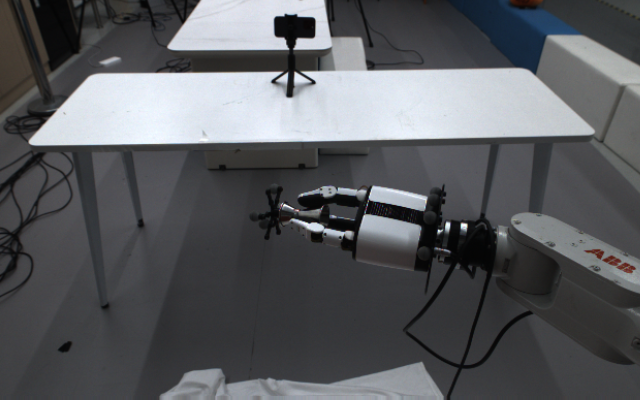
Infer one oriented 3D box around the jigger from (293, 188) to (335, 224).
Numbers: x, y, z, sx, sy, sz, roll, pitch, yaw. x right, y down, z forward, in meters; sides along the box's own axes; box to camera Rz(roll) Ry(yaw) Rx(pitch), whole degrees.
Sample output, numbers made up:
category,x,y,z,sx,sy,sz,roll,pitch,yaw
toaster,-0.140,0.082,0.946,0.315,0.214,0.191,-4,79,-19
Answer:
category,x,y,z,sx,sy,sz,roll,pitch,yaw
jigger,-0.016,0.018,0.735,0.071,0.043,0.043,5,34,20
